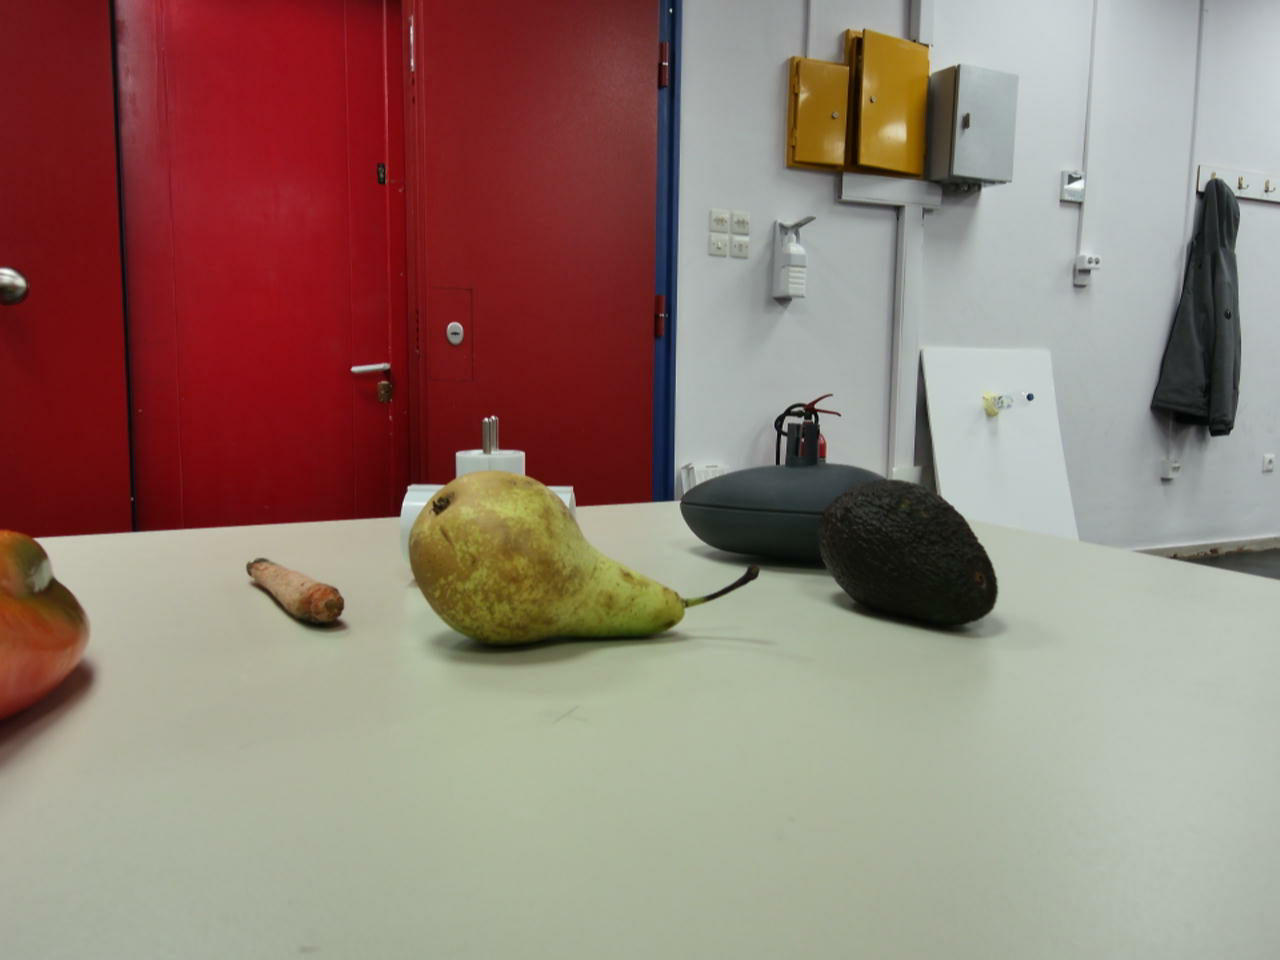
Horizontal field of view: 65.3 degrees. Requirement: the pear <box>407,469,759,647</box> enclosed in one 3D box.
[{"bbox_3d":[-0.028,0.033,0.442,0.144,0.075,0.071,-2,4,-18],"label":"pear"}]
